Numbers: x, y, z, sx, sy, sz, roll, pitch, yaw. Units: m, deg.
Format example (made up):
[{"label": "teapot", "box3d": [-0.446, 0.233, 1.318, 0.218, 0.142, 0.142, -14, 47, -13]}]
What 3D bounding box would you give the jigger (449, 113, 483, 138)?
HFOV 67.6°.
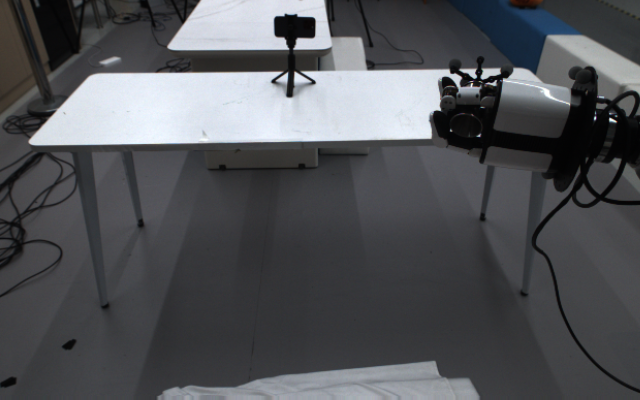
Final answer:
[{"label": "jigger", "box3d": [0.206, -0.125, 0.655, 0.043, 0.043, 0.071, 13, 58, 15]}]
